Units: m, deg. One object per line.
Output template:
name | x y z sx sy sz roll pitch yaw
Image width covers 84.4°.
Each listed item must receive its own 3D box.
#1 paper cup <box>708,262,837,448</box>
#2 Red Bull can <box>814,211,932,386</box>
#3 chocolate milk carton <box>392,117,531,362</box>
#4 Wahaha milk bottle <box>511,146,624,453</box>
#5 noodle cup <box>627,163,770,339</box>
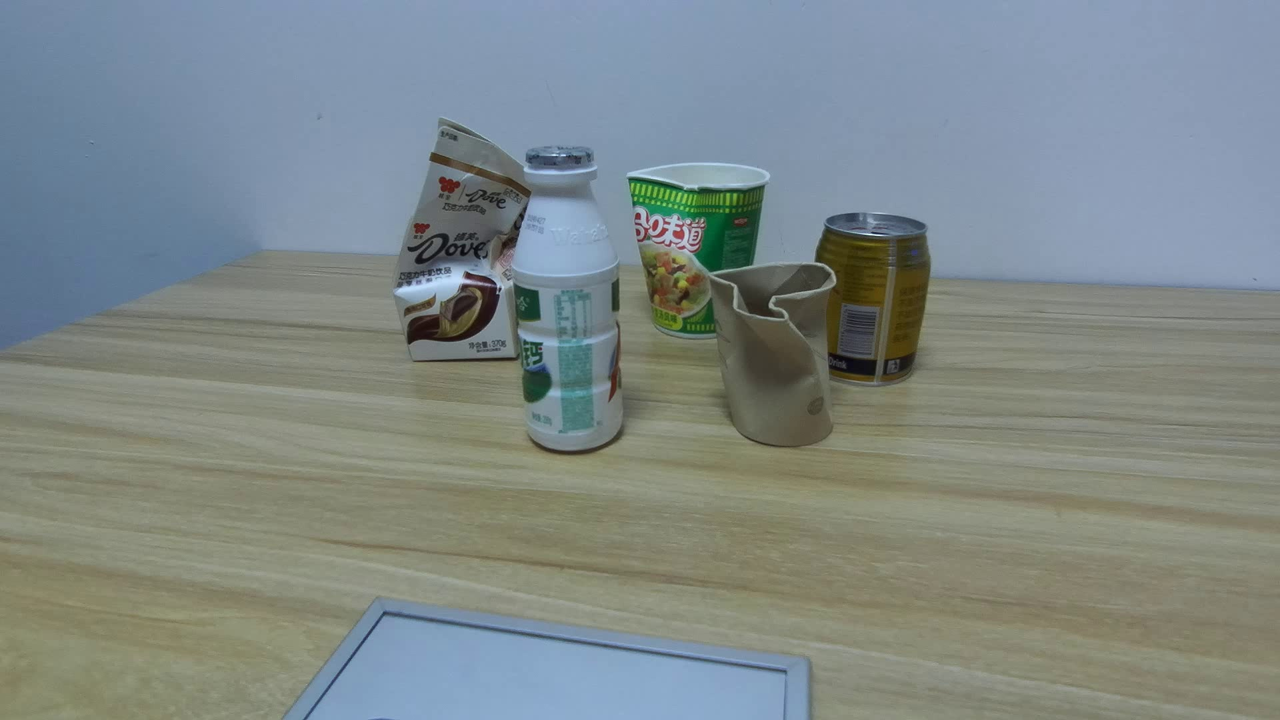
paper cup | 0.075 -0.001 0.363 0.066 0.083 0.058 -10 28 -14
Red Bull can | 0.139 -0.038 0.434 0.068 0.093 0.068 0 24 0
chocolate milk carton | -0.103 -0.076 0.463 0.089 0.155 0.076 13 32 -5
Wahaha milk bottle | -0.036 -0.028 0.351 0.053 0.147 0.053 -2 23 1
noodle cup | 0.047 -0.078 0.502 0.087 0.109 0.093 -14 28 -25
